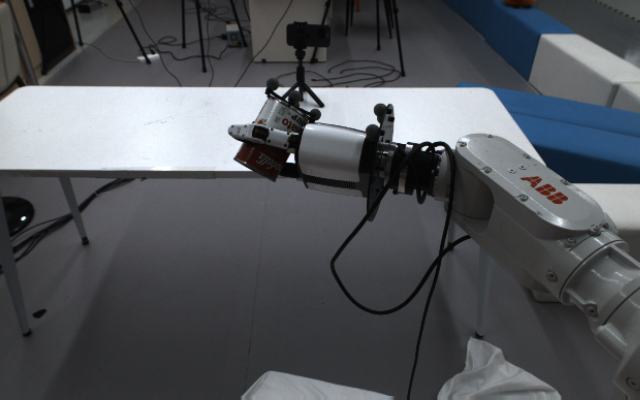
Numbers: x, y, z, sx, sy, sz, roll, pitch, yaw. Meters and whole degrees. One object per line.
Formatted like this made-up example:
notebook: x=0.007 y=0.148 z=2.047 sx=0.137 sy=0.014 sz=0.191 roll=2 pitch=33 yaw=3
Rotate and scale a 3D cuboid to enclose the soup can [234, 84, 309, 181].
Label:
soup can: x=-0.068 y=-0.085 z=0.683 sx=0.067 sy=0.101 sz=0.067 roll=29 pitch=-2 yaw=1
